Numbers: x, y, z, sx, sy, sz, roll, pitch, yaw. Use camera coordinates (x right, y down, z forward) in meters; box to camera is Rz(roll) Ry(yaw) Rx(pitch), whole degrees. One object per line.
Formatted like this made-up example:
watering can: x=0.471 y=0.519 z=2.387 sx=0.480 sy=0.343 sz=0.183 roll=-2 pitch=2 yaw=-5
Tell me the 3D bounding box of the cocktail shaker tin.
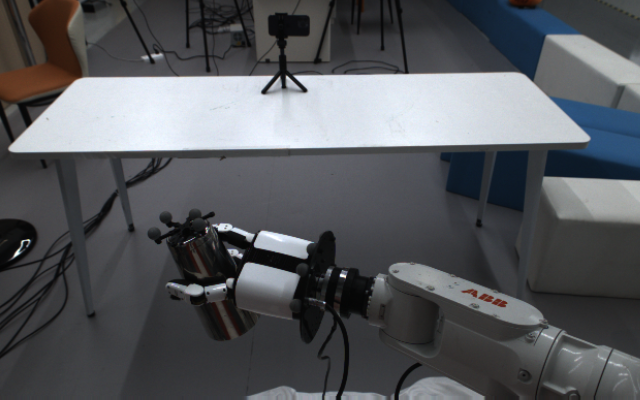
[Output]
cocktail shaker tin: x=-0.160 y=0.116 z=0.712 sx=0.093 sy=0.170 sz=0.093 roll=-15 pitch=27 yaw=8
